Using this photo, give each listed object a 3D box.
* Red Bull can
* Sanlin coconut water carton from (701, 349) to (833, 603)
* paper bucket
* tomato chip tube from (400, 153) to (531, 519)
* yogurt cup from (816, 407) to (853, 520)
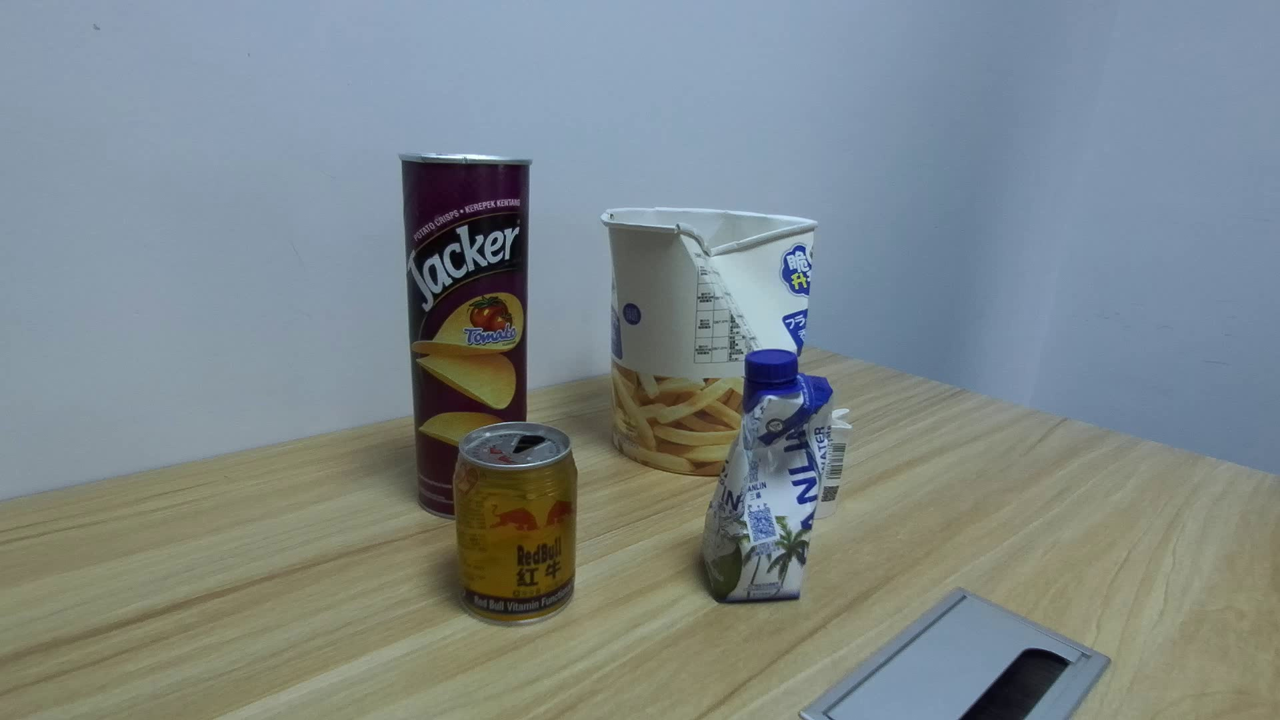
[{"bbox_3d":[-0.068,0.087,0.388,0.068,0.093,0.068,3,16,-1],"label":"Red Bull can"},{"bbox_3d":[0.079,0.067,0.399,0.068,0.144,0.056,8,22,-12],"label":"Sanlin coconut water carton"},{"bbox_3d":[0.050,-0.019,0.584,0.168,0.202,0.163,6,18,19],"label":"paper bucket"},{"bbox_3d":[-0.113,-0.015,0.477,0.080,0.234,0.076,1,16,-7],"label":"tomato chip tube"},{"bbox_3d":[0.121,0.071,0.511,0.054,0.072,0.055,10,23,16],"label":"yogurt cup"}]
